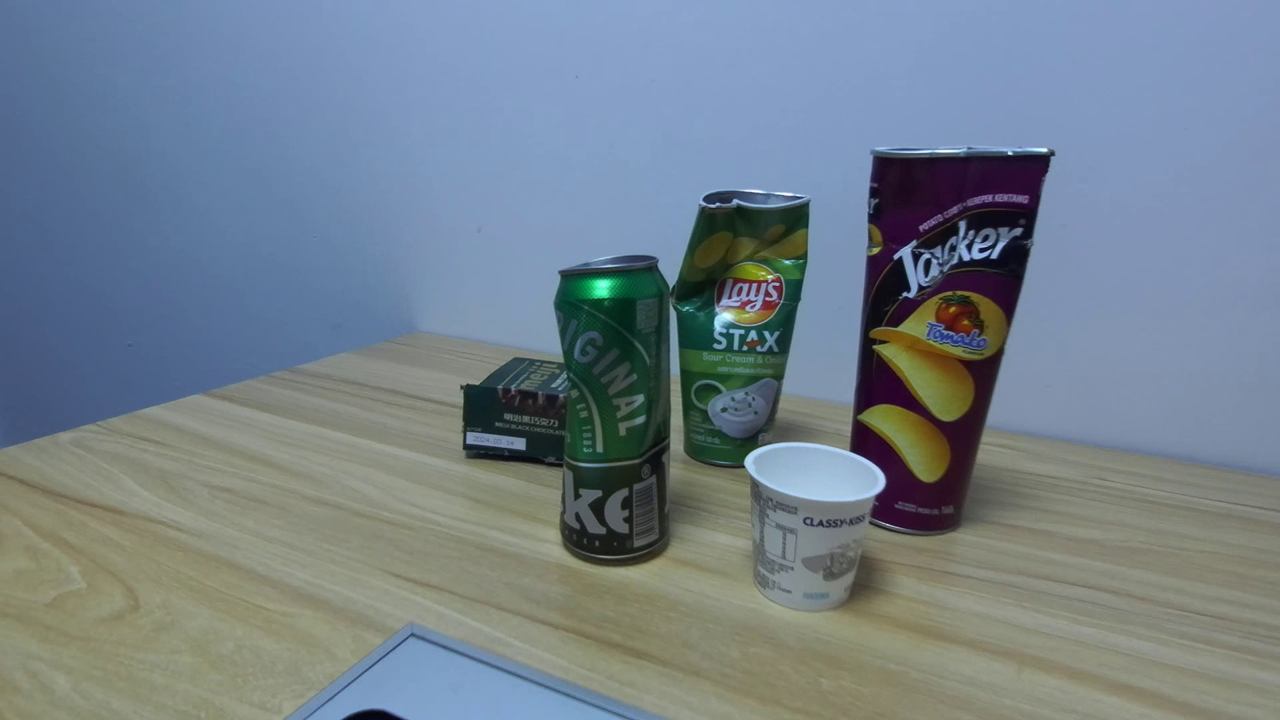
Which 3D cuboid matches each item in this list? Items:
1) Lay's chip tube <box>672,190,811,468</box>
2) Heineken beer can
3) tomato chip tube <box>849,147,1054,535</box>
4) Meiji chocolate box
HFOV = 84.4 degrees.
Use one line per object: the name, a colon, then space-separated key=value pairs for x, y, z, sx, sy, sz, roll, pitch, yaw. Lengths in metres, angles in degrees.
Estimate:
Lay's chip tube: x=0.072 y=-0.023 z=0.530 sx=0.077 sy=0.201 sz=0.069 roll=-13 pitch=22 yaw=-37
Heineken beer can: x=-0.015 y=0.029 z=0.404 sx=0.068 sy=0.168 sz=0.069 roll=-8 pitch=14 yaw=-23
tomato chip tube: x=0.180 y=-0.011 z=0.447 sx=0.078 sy=0.236 sz=0.090 roll=3 pitch=18 yaw=6
Meiji chocolate box: x=-0.069 y=0.039 z=0.568 sx=0.122 sy=0.058 sz=0.116 roll=5 pitch=14 yaw=11
